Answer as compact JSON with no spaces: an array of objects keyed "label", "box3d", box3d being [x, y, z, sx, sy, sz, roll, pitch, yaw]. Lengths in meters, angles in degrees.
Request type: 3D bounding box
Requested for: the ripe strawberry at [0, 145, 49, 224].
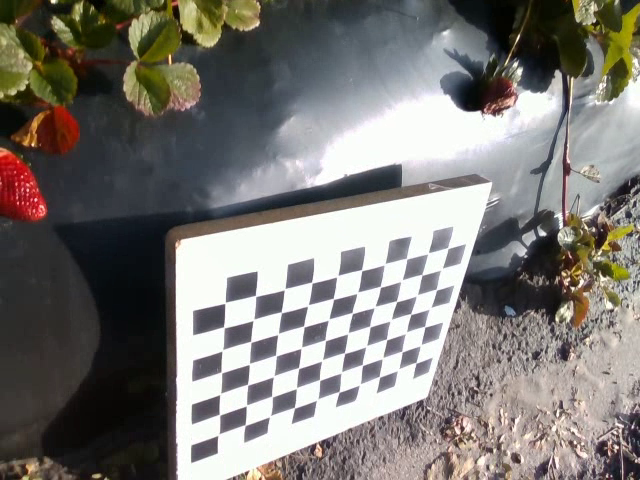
[{"label":"ripe strawberry","box3d":[-0.177,-0.025,0.341,0.056,0.040,0.040,40,9,0]}]
